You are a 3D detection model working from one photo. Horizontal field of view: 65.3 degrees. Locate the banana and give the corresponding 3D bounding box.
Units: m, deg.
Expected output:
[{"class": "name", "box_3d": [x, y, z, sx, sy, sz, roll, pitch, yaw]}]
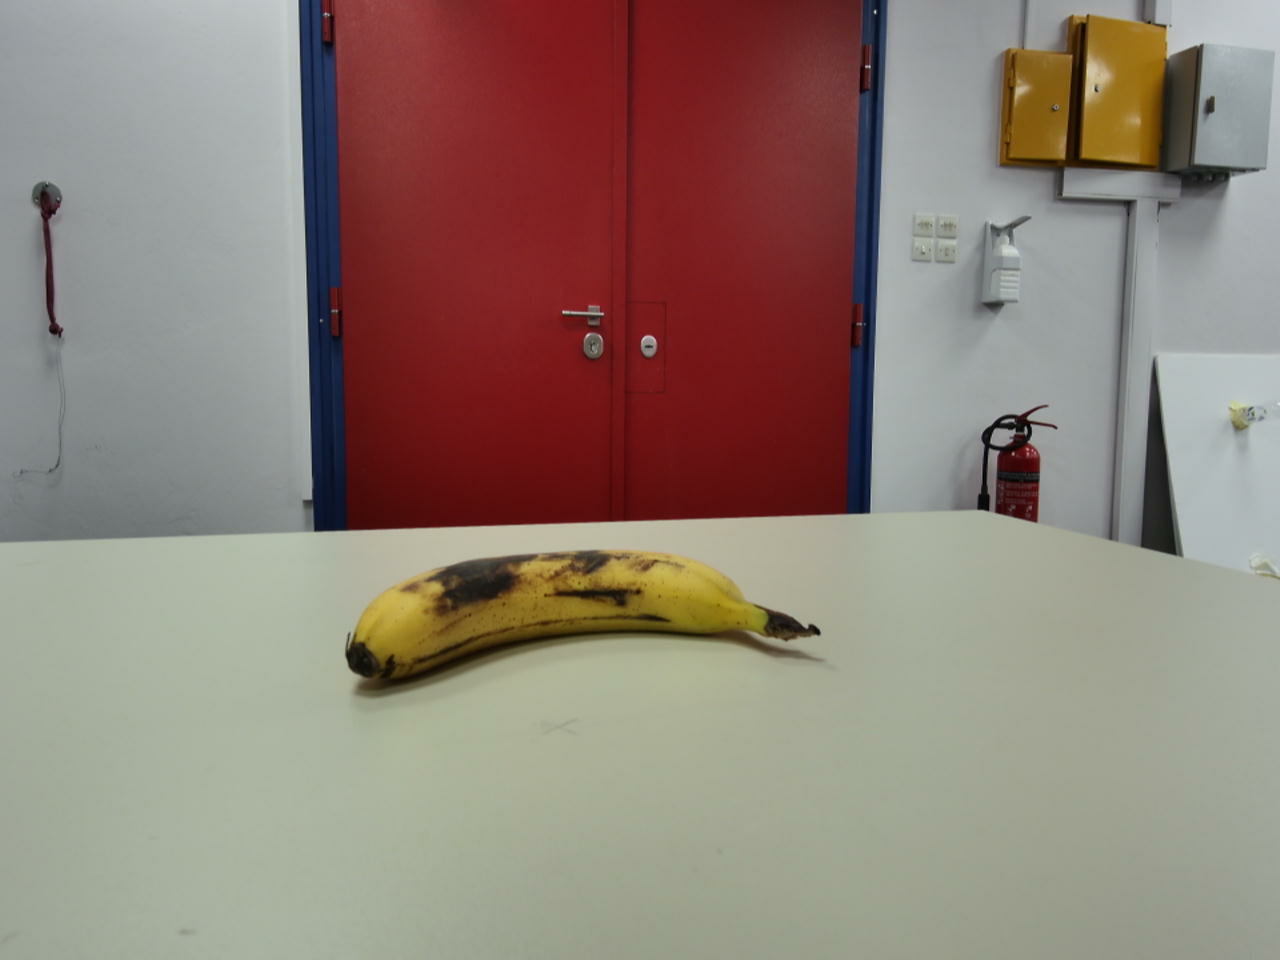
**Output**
[{"class": "banana", "box_3d": [-0.030, 0.055, 0.433, 0.187, 0.039, 0.094, -1, 4, -15]}]
